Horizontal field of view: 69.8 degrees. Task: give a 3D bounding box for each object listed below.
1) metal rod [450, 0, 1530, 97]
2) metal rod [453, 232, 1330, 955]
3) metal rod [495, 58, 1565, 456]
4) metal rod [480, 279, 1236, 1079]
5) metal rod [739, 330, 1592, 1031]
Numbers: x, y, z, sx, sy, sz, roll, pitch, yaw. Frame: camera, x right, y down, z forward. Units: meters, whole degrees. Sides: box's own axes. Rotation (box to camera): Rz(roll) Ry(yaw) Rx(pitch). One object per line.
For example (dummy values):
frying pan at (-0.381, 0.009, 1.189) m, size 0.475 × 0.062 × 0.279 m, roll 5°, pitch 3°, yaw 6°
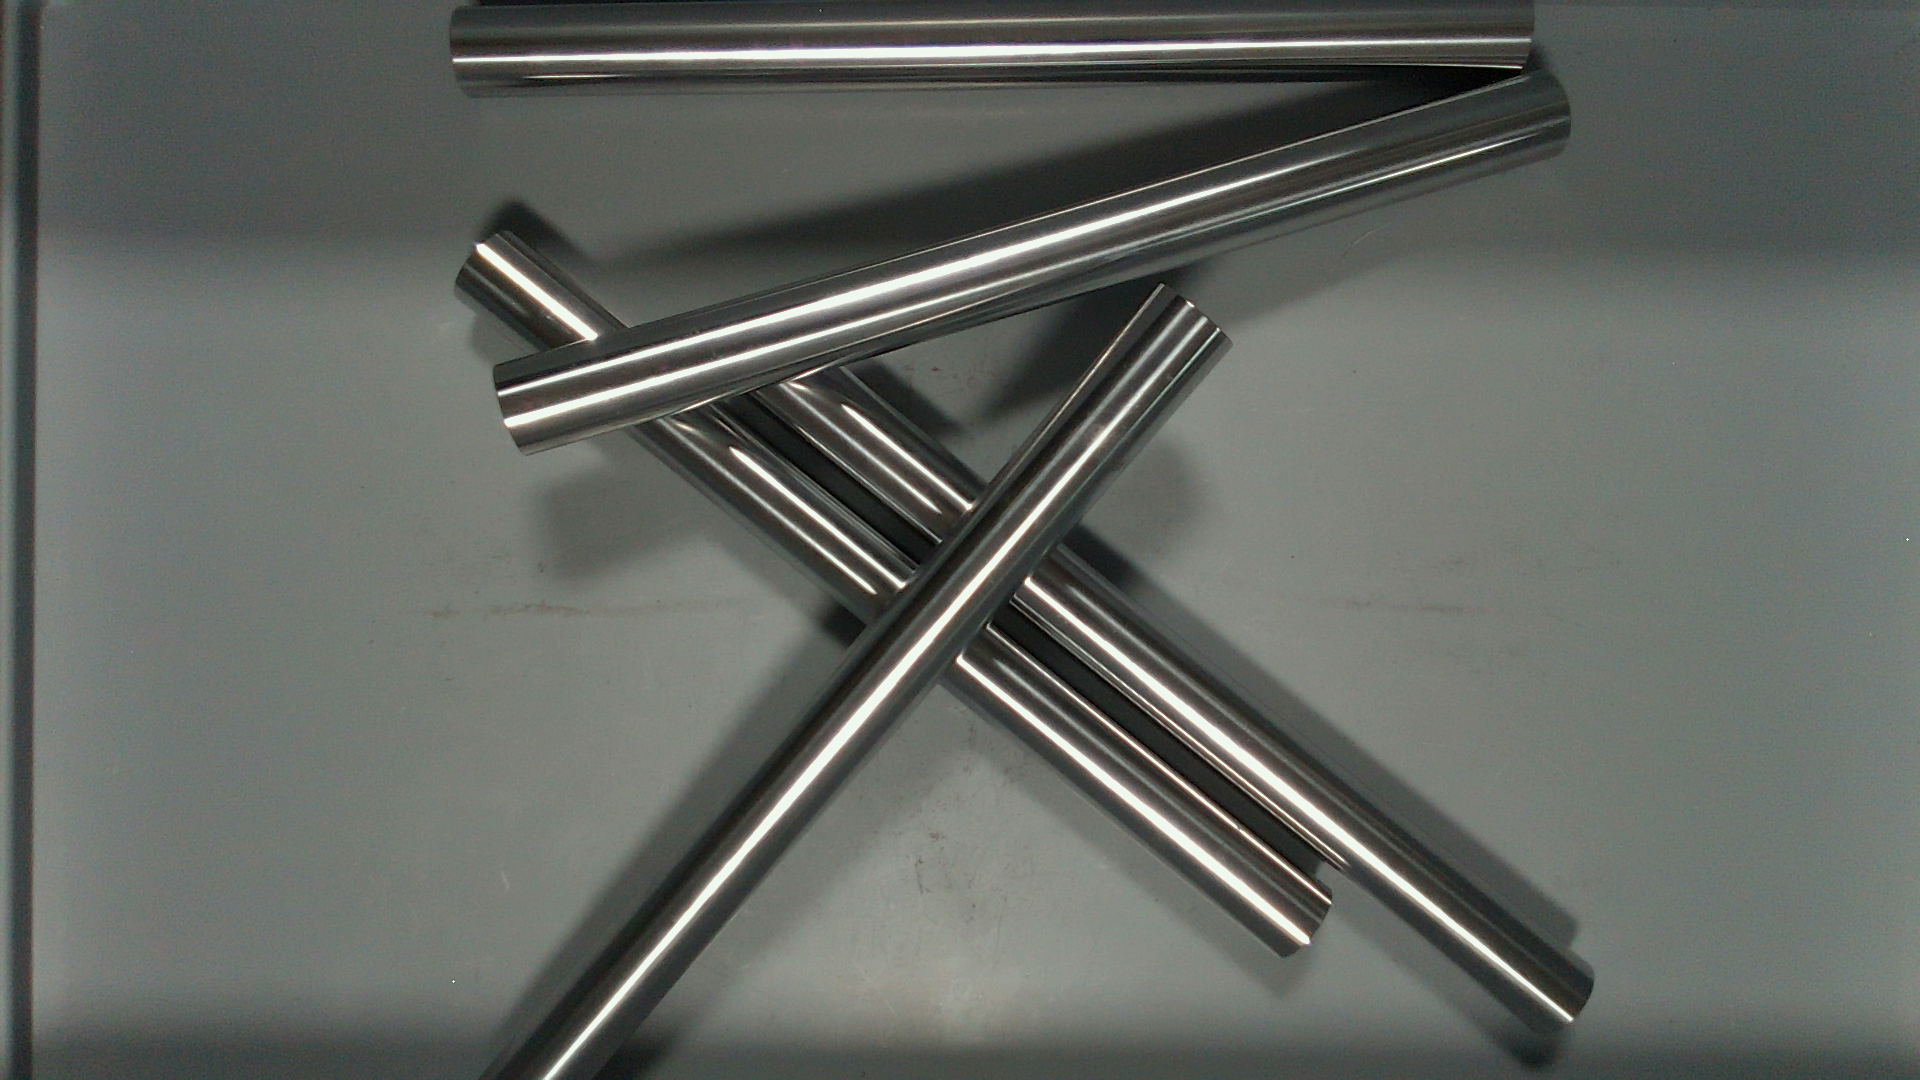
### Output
metal rod at (0.009, -0.143, 0.394) m, size 0.300 × 0.025 × 0.025 m, roll -1°, pitch 90°, yaw 0°
metal rod at (-0.019, 0.016, 0.395) m, size 0.300 × 0.025 × 0.025 m, roll 39°, pitch 90°, yaw 0°
metal rod at (0.024, -0.080, 0.379) m, size 0.300 × 0.025 × 0.025 m, roll -18°, pitch 90°, yaw -6°
metal rod at (-0.035, 0.054, 0.375) m, size 0.025 × 0.025 × 0.300 m, roll 41°, pitch 98°, yaw 0°
metal rod at (0.055, 0.037, 0.395) m, size 0.300 × 0.025 × 0.025 m, roll 39°, pitch 90°, yaw 0°
